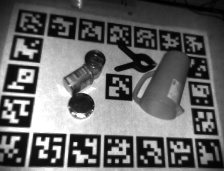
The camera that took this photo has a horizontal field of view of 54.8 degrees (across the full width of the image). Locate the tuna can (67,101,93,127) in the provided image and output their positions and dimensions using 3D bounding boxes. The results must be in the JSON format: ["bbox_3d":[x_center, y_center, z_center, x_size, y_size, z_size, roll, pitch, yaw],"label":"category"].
[{"bbox_3d":[-0.111,0.097,0.737,0.086,0.033,0.085,4,73,-11],"label":"tuna can"}]

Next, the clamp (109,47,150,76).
[{"bbox_3d":[0.069,-0.087,0.848,0.166,0.036,0.121,6,67,-14],"label":"clamp"}]

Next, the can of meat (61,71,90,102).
[{"bbox_3d":[-0.123,0.008,0.725,0.084,0.101,0.057,-34,82,-16],"label":"can of meat"}]

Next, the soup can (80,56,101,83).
[{"bbox_3d":[-0.077,-0.053,0.760,0.068,0.102,0.068,3,73,-8],"label":"soup can"}]

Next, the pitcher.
[{"bbox_3d":[0.191,0.004,0.779,0.187,0.134,0.243,15,60,17],"label":"pitcher"}]
